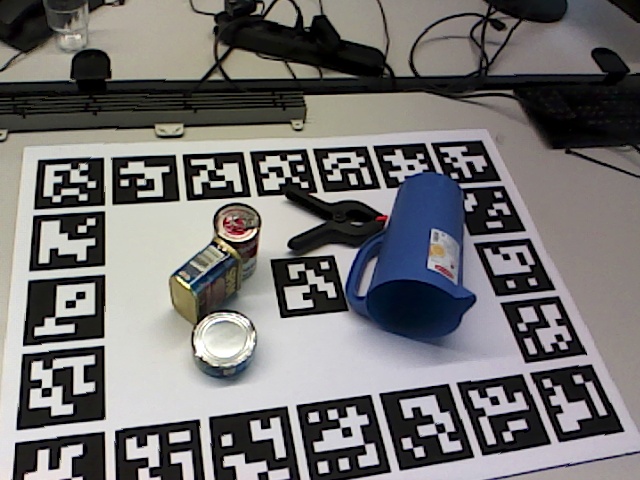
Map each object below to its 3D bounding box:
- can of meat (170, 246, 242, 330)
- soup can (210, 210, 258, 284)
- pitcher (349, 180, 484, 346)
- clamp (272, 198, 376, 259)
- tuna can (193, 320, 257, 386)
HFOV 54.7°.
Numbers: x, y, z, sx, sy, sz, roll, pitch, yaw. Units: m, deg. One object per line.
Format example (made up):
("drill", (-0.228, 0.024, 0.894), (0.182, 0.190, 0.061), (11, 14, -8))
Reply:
("can of meat", (-0.158, 0.069, 0.858), (0.058, 0.101, 0.083), (41, 61, 18))
("soup can", (-0.126, 0.013, 0.911), (0.068, 0.102, 0.068), (3, 56, -5))
("pitcher", (0.148, 0.025, 0.921), (0.189, 0.132, 0.243), (-1, 43, 17))
("clamp", (0.010, -0.021, 1.009), (0.164, 0.036, 0.122), (-1, 50, -14))
("tuna can", (-0.130, 0.155, 0.845), (0.085, 0.033, 0.086), (4, 55, -6))
